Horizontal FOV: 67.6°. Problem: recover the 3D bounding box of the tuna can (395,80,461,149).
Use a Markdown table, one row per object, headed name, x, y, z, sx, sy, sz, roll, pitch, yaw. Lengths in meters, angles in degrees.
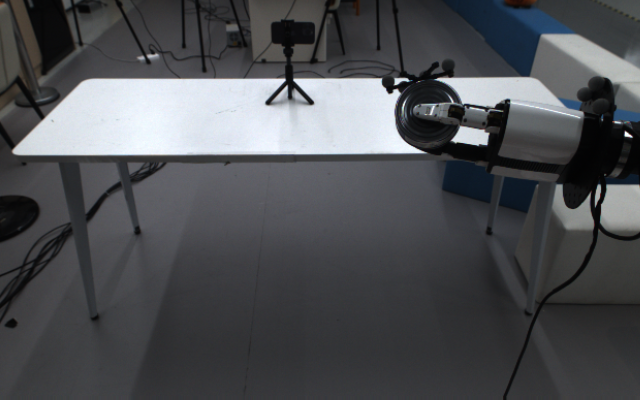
| name | x | y | z | sx | sy | sz | roll | pitch | yaw |
| --- | --- | --- | --- | --- | --- | --- | --- | --- | --- |
| tuna can | 0.142 | -0.114 | 0.629 | 0.085 | 0.085 | 0.034 | 12 | -6 | 14 |
